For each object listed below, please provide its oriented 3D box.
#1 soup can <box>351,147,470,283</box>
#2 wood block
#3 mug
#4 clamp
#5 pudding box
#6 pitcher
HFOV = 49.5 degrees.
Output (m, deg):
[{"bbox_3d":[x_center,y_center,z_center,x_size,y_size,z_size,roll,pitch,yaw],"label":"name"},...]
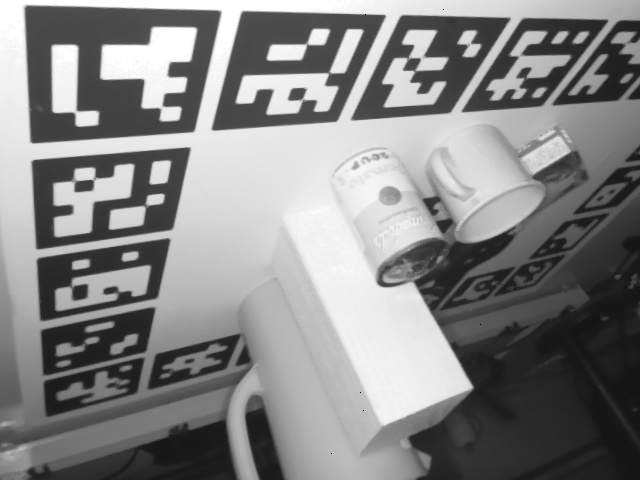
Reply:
[{"bbox_3d":[0.077,-0.023,0.607,0.068,0.102,0.067,-19,147,-12],"label":"soup can"},{"bbox_3d":[0.057,0.075,0.639,0.091,0.206,0.089,-7,145,-21],"label":"wood block"},{"bbox_3d":[0.162,-0.057,0.641,0.092,0.081,0.118,-36,149,21],"label":"mug"},{"bbox_3d":[0.205,0.030,0.863,0.123,0.036,0.163,22,125,-42],"label":"clamp"},{"bbox_3d":[0.267,-0.067,0.752,0.089,0.038,0.115,-40,147,17],"label":"pudding box"},{"bbox_3d":[0.009,0.164,0.708,0.192,0.242,0.131,-12,149,-27],"label":"pitcher"}]
